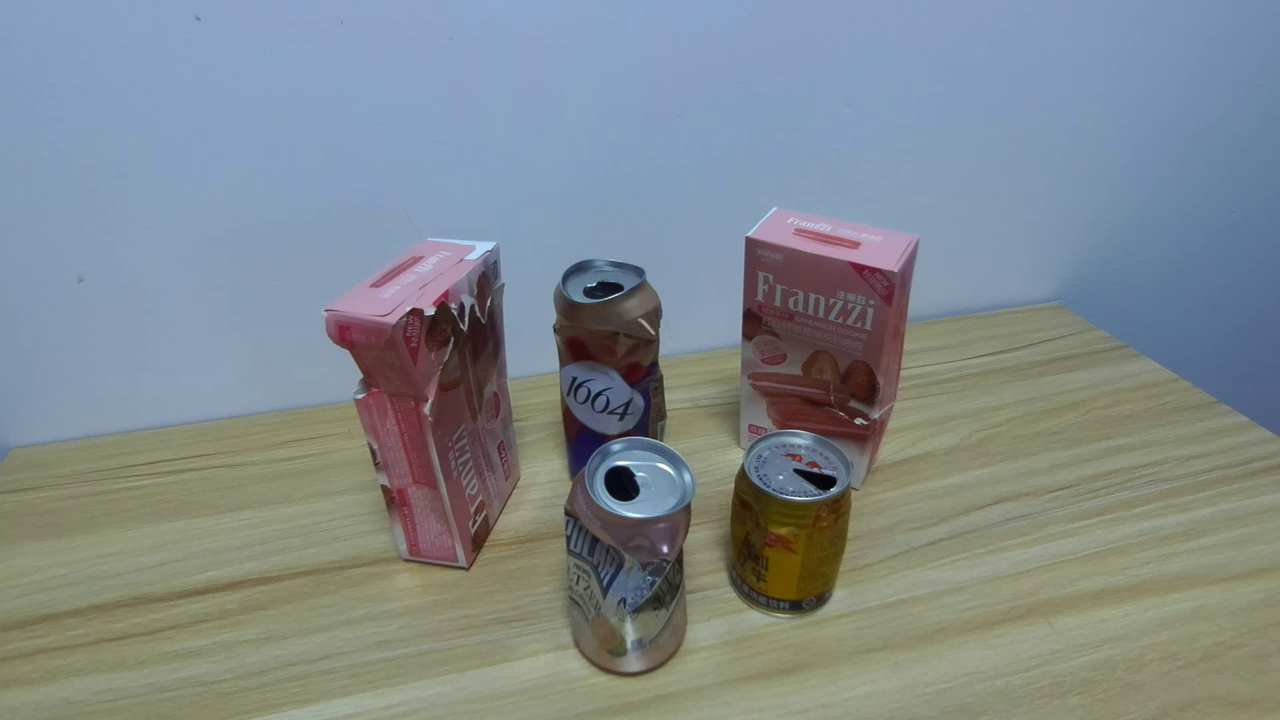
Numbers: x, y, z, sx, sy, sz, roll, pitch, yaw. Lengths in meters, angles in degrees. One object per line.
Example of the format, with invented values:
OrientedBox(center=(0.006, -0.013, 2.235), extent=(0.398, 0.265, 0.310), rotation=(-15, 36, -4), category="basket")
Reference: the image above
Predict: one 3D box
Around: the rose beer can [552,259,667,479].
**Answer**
OrientedBox(center=(-0.020, 0.015, 0.477), extent=(0.074, 0.162, 0.068), rotation=(-4, 33, -2), category="rose beer can")

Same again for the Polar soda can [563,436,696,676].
OrientedBox(center=(-0.001, 0.107, 0.374), extent=(0.067, 0.122, 0.070), rotation=(-9, 33, -22), category="Polar soda can")

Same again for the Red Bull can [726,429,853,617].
OrientedBox(center=(0.088, 0.095, 0.412), extent=(0.069, 0.092, 0.069), rotation=(-1, 32, 1), category="Red Bull can")

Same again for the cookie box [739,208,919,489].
OrientedBox(center=(0.125, 0.000, 0.479), extent=(0.105, 0.188, 0.049), rotation=(18, 43, 27), category="cookie box")

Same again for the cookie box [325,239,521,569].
OrientedBox(center=(-0.117, 0.030, 0.436), extent=(0.059, 0.186, 0.105), rotation=(6, 33, 14), category="cookie box")
